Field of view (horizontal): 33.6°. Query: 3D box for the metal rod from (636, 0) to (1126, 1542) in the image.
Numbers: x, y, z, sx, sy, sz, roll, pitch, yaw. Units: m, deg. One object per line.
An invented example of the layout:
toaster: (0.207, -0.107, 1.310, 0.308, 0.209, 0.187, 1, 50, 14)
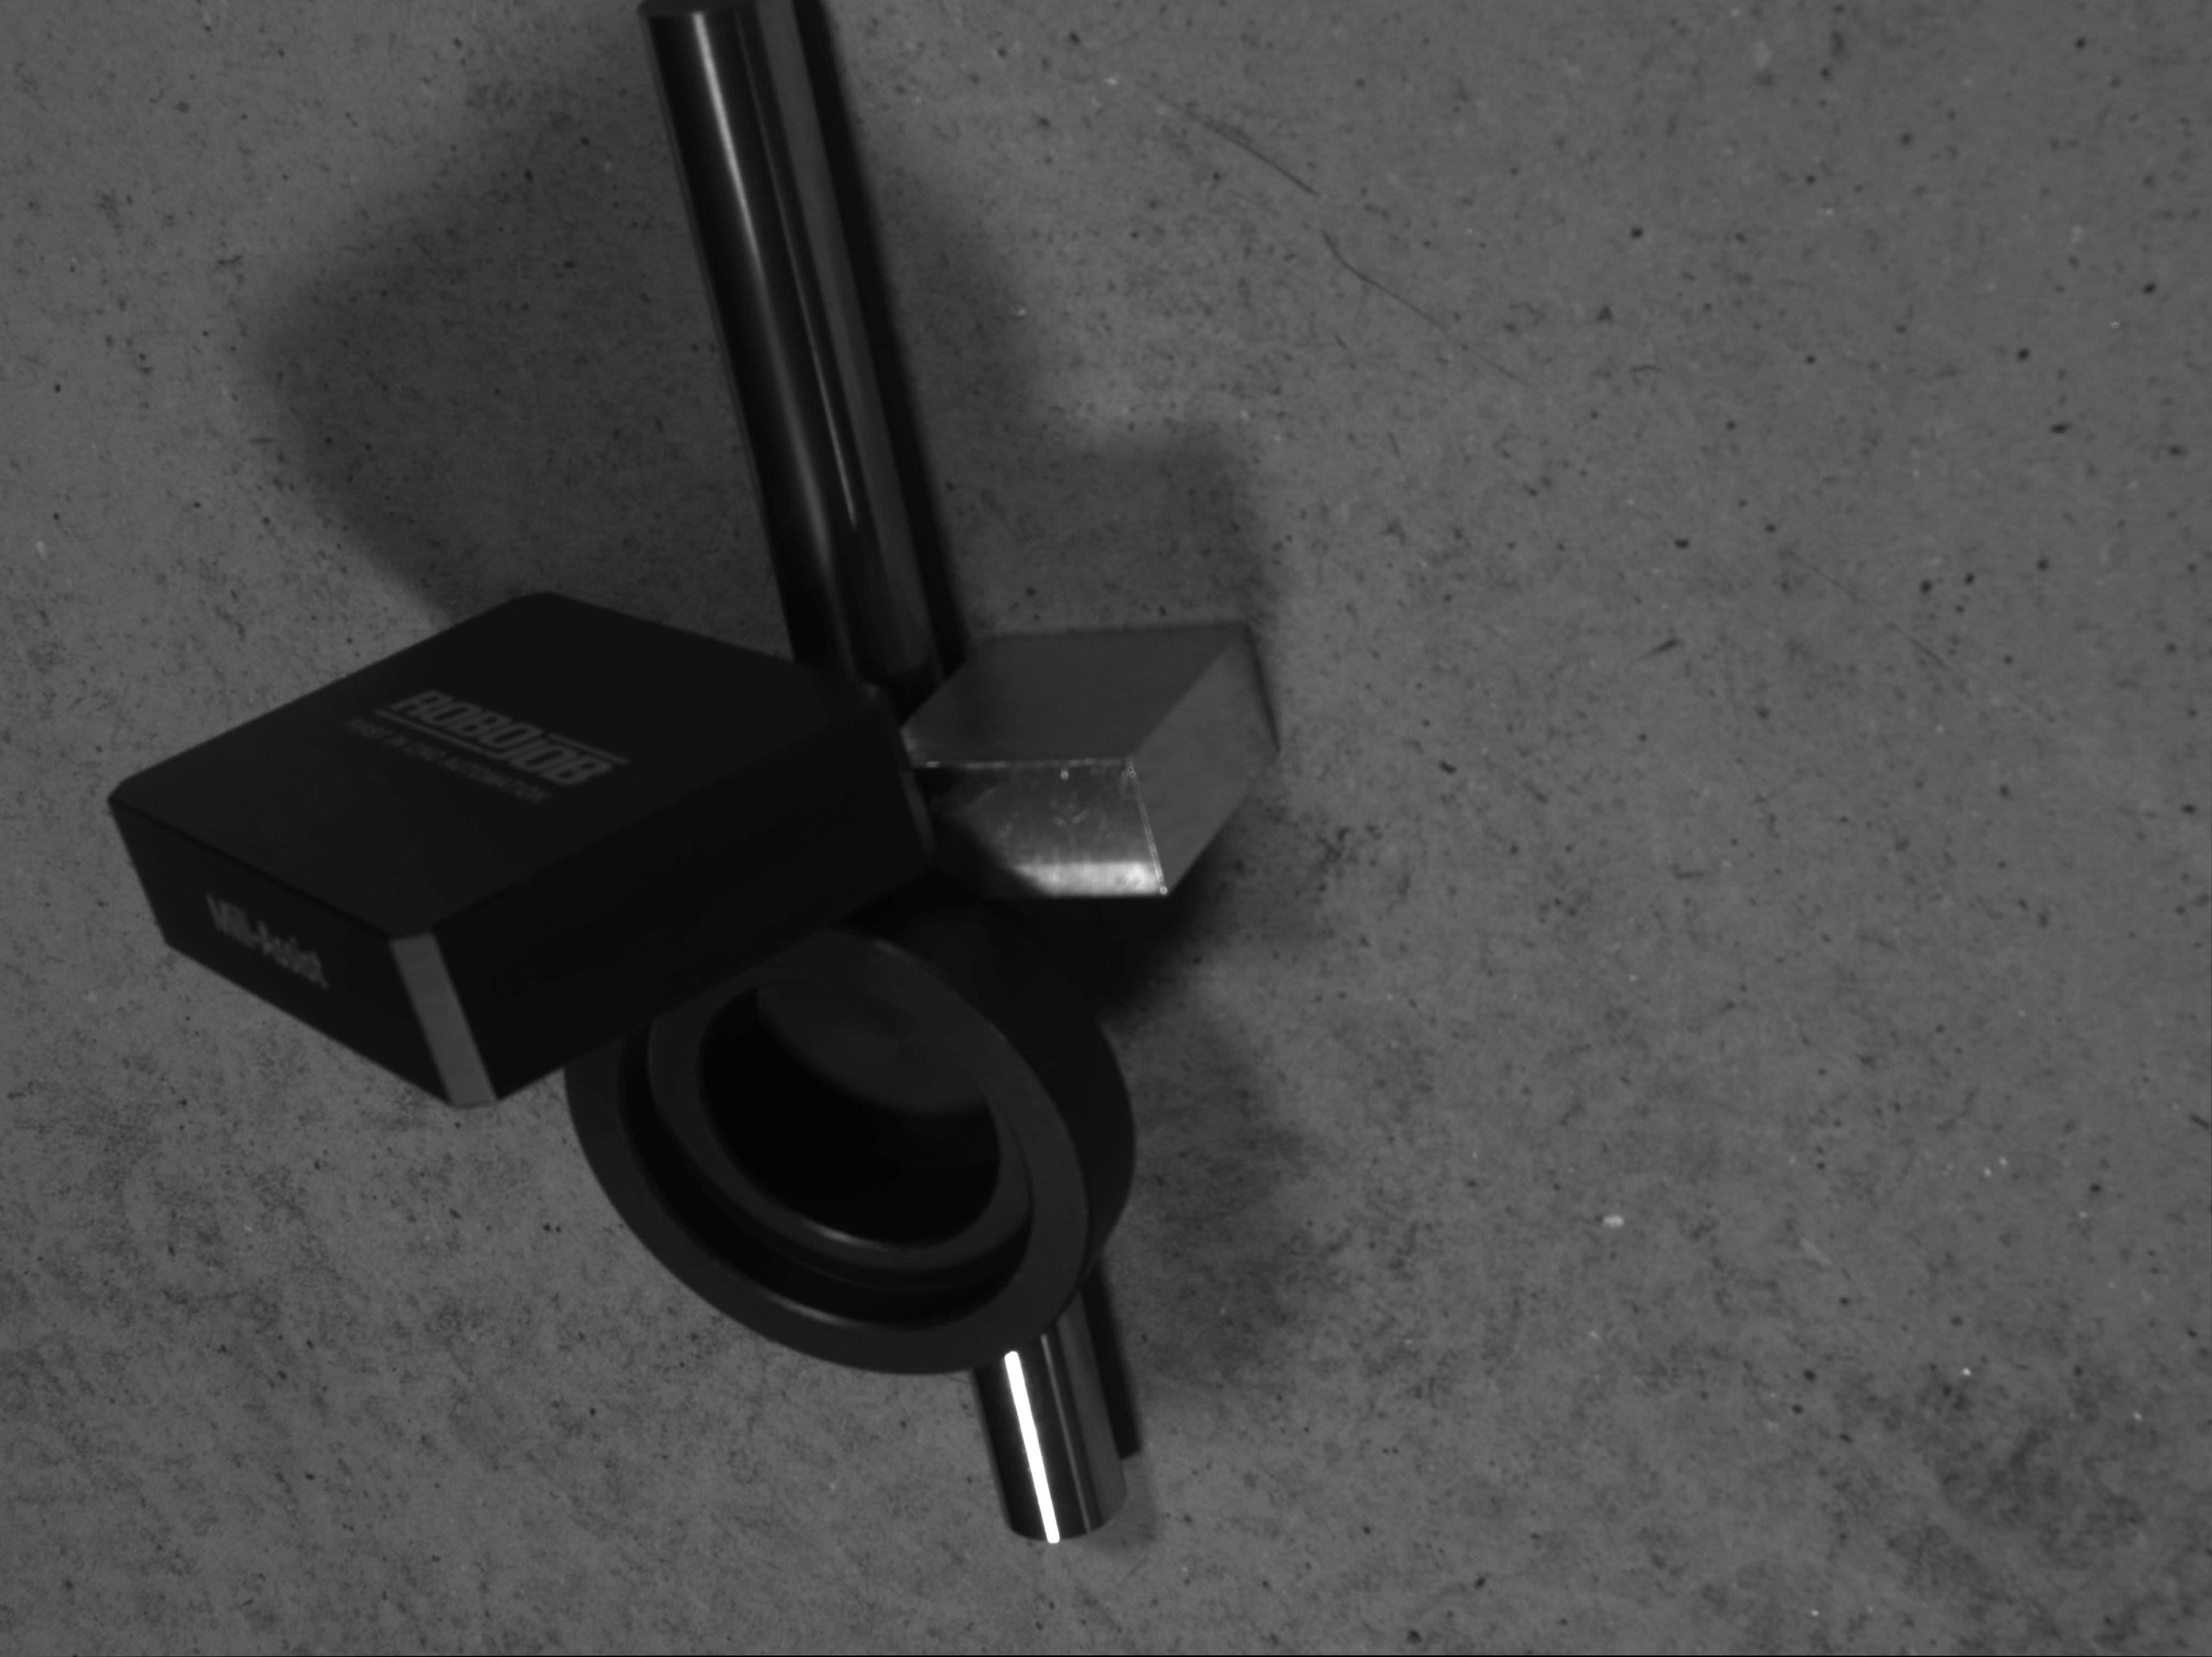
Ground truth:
metal rod: (-0.035, -0.001, 0.648, 0.025, 0.025, 0.300, 2, 119, 26)

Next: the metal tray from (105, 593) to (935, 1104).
metal tray: (-0.100, -0.001, 0.610, 0.130, 0.090, 0.030, 17, 129, 54)

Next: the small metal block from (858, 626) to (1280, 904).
small metal block: (-0.005, -0.011, 0.612, 0.050, 0.050, 0.025, -2, 117, 27)

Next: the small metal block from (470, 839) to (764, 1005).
small metal block: (-0.089, 0.016, 0.669, 0.050, 0.050, 0.025, -21, 108, 34)

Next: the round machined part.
round machined part: (-0.041, 0.044, 0.632, 0.098, 0.042, 0.098, 12, 126, 17)
